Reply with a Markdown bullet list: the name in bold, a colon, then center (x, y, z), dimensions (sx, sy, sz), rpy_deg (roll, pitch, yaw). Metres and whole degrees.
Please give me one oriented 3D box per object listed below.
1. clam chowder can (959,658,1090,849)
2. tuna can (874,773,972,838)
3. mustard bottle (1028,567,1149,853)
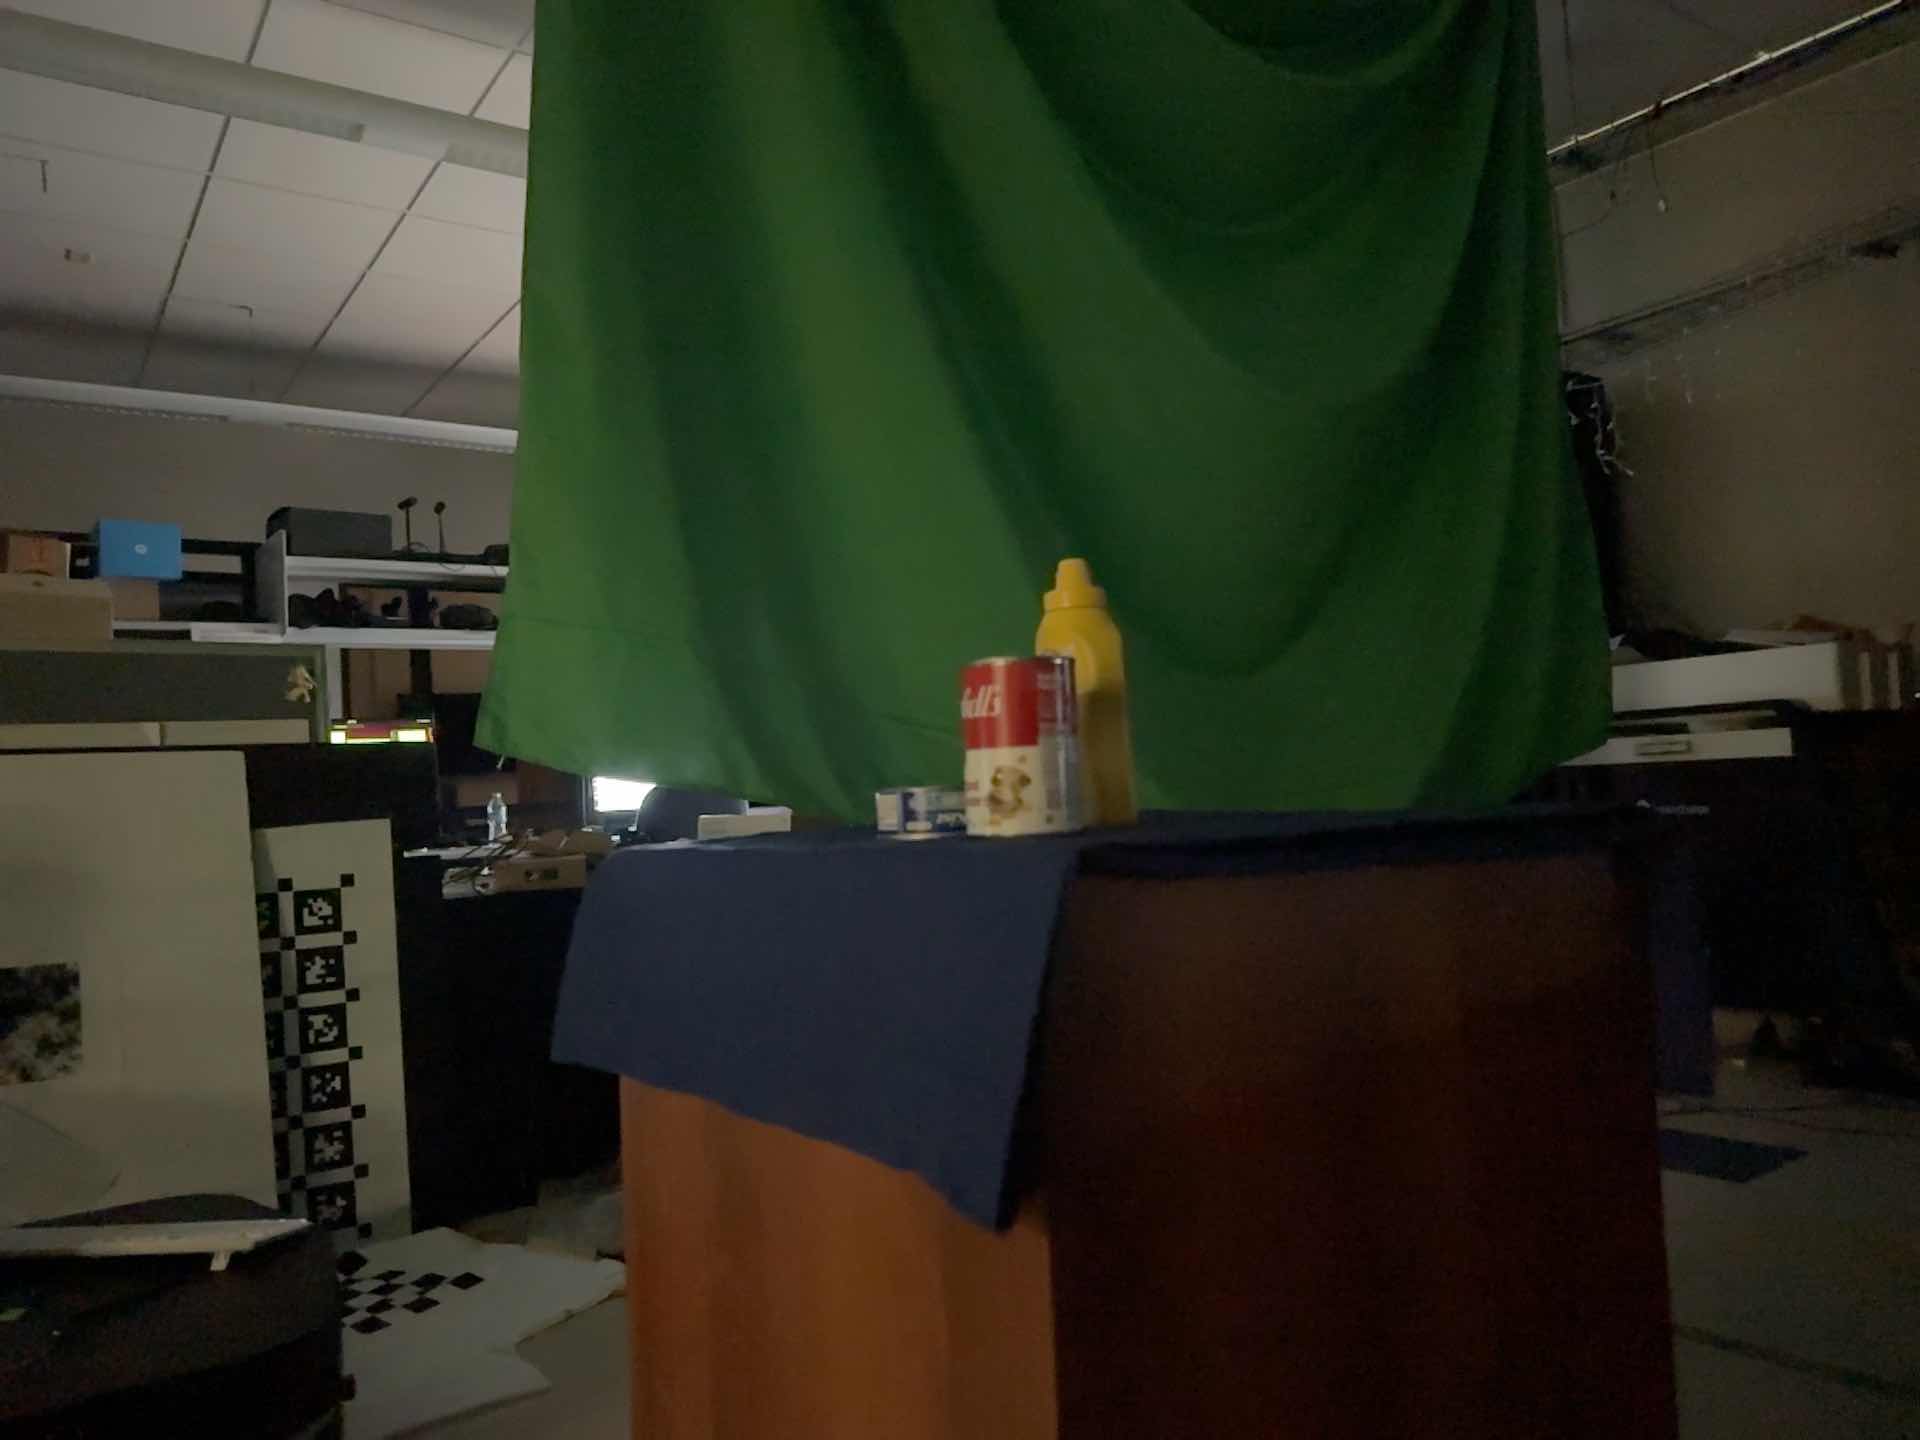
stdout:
- **clam chowder can**: center (0.037, 0.018, 0.760), dimensions (0.068, 0.102, 0.068), rpy_deg (-5, 0, 0)
- **tuna can**: center (-0.013, 0.054, 0.868), dimensions (0.083, 0.034, 0.083), rpy_deg (-5, 0, 0)
- **mustard bottle**: center (0.078, -0.008, 0.874), dimensions (0.054, 0.184, 0.092), rpy_deg (-6, 0, -20)
